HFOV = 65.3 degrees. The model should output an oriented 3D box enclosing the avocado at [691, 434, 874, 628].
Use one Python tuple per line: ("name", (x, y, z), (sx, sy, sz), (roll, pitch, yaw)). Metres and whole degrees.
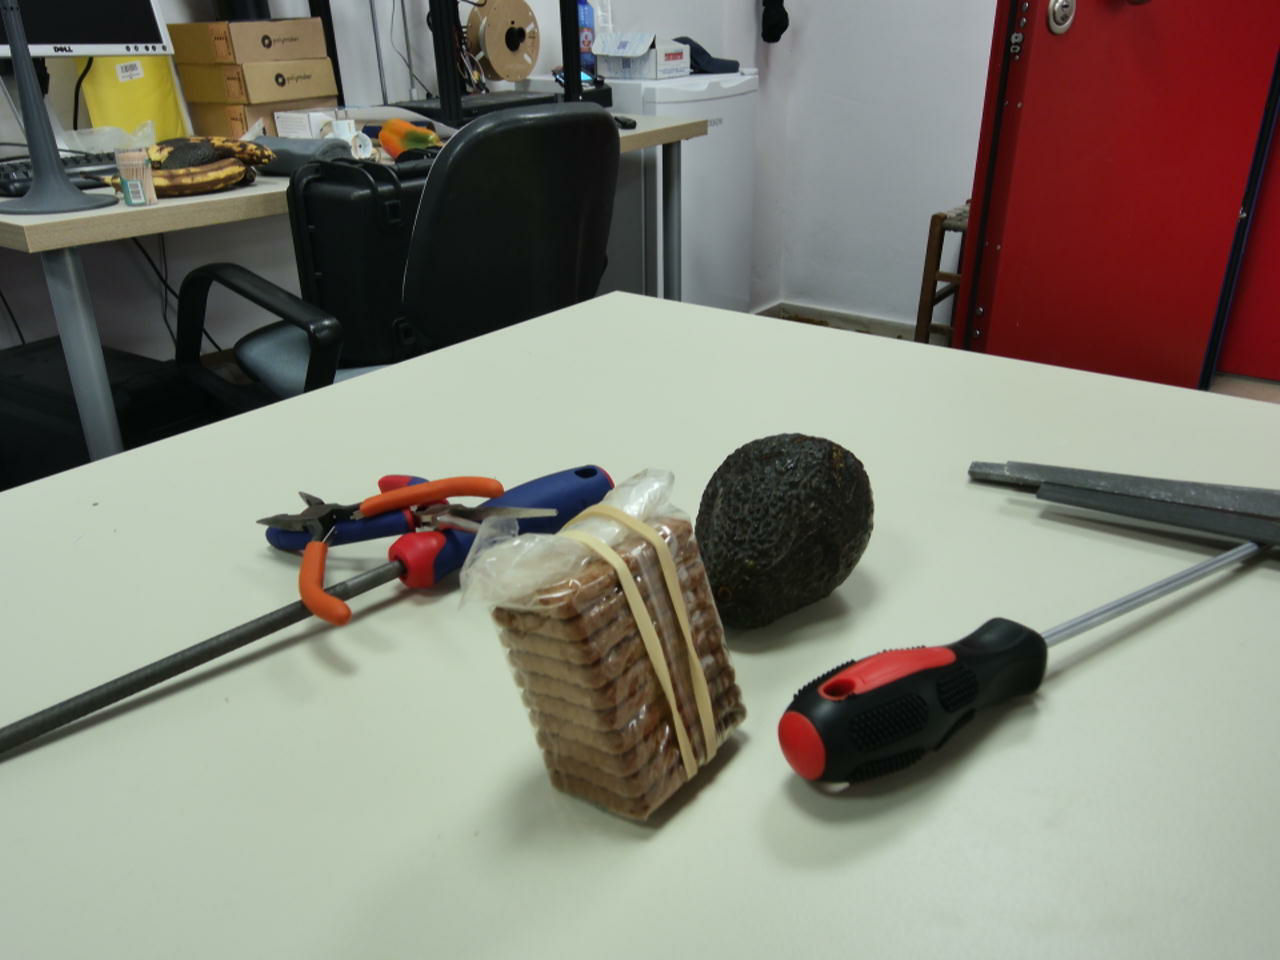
("avocado", (0.056, 0.017, 0.416), (0.090, 0.069, 0.070), (-10, 25, -24))
